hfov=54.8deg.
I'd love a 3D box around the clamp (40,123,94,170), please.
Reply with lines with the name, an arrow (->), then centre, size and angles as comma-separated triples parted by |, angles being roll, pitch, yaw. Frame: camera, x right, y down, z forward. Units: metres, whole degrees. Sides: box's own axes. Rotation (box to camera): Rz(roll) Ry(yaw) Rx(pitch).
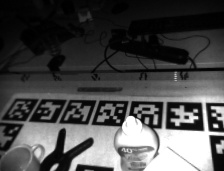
clamp -> -0.139, 0.187, 0.592 | 0.120, 0.037, 0.165 | 16, 54, 26

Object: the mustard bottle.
mustard bottle -> 0.049, 0.124, 0.483 | 0.096, 0.193, 0.058 | -6, 46, 12

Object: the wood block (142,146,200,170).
wood block -> 0.083, 0.237, 0.442 | 0.207, 0.092, 0.088 | -38, 46, -24

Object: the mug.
mug -> -0.226, 0.215, 0.582 | 0.092, 0.082, 0.117 | 17, 55, 30
